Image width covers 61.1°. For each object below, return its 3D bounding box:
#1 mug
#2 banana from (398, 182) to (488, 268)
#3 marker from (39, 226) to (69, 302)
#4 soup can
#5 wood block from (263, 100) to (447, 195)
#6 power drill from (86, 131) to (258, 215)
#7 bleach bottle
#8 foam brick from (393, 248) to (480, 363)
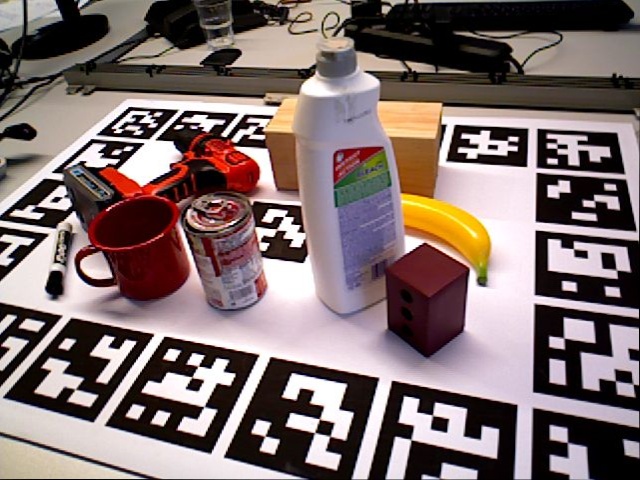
[{"bbox_3d":[-0.196,0.011,0.568,0.115,0.083,0.093,-26,45,-17],"label":"mug"},{"bbox_3d":[0.100,-0.030,0.599,0.198,0.039,0.073,20,61,26],"label":"banana"},{"bbox_3d":[-0.304,0.027,0.622,0.019,0.020,0.119,-15,41,-5],"label":"marker"},{"bbox_3d":[-0.093,0.008,0.529,0.067,0.104,0.067,-3,37,1],"label":"soup can"},{"bbox_3d":[0.046,-0.112,0.671,0.207,0.093,0.088,6,42,16],"label":"wood block"},{"bbox_3d":[-0.199,-0.071,0.696,0.183,0.058,0.184,-34,50,-30],"label":"power drill"},{"bbox_3d":[0.029,-0.050,0.470,0.100,0.256,0.068,-33,46,-30],"label":"bleach bottle"},{"bbox_3d":[0.099,0.056,0.472,0.050,0.079,0.053,-29,42,-27],"label":"foam brick"}]
